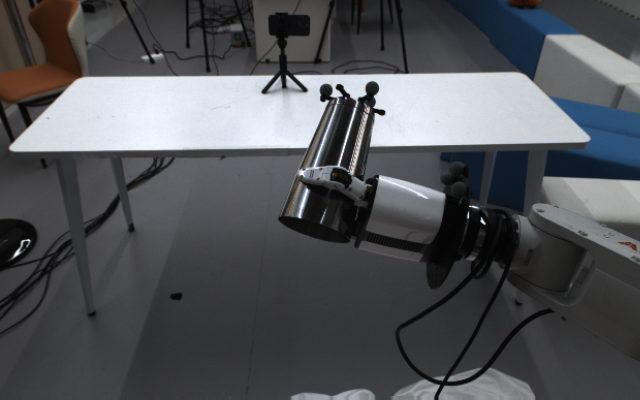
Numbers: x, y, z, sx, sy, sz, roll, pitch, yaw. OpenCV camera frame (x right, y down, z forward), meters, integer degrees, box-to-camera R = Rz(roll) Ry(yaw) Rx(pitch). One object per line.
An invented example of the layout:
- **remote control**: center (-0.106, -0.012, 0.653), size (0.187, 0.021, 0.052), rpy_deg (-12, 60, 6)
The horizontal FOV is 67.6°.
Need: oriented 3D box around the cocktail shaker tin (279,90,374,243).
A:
- **cocktail shaker tin**: center (0.017, -0.041, 0.614), size (0.093, 0.093, 0.170), rpy_deg (13, 73, 15)
